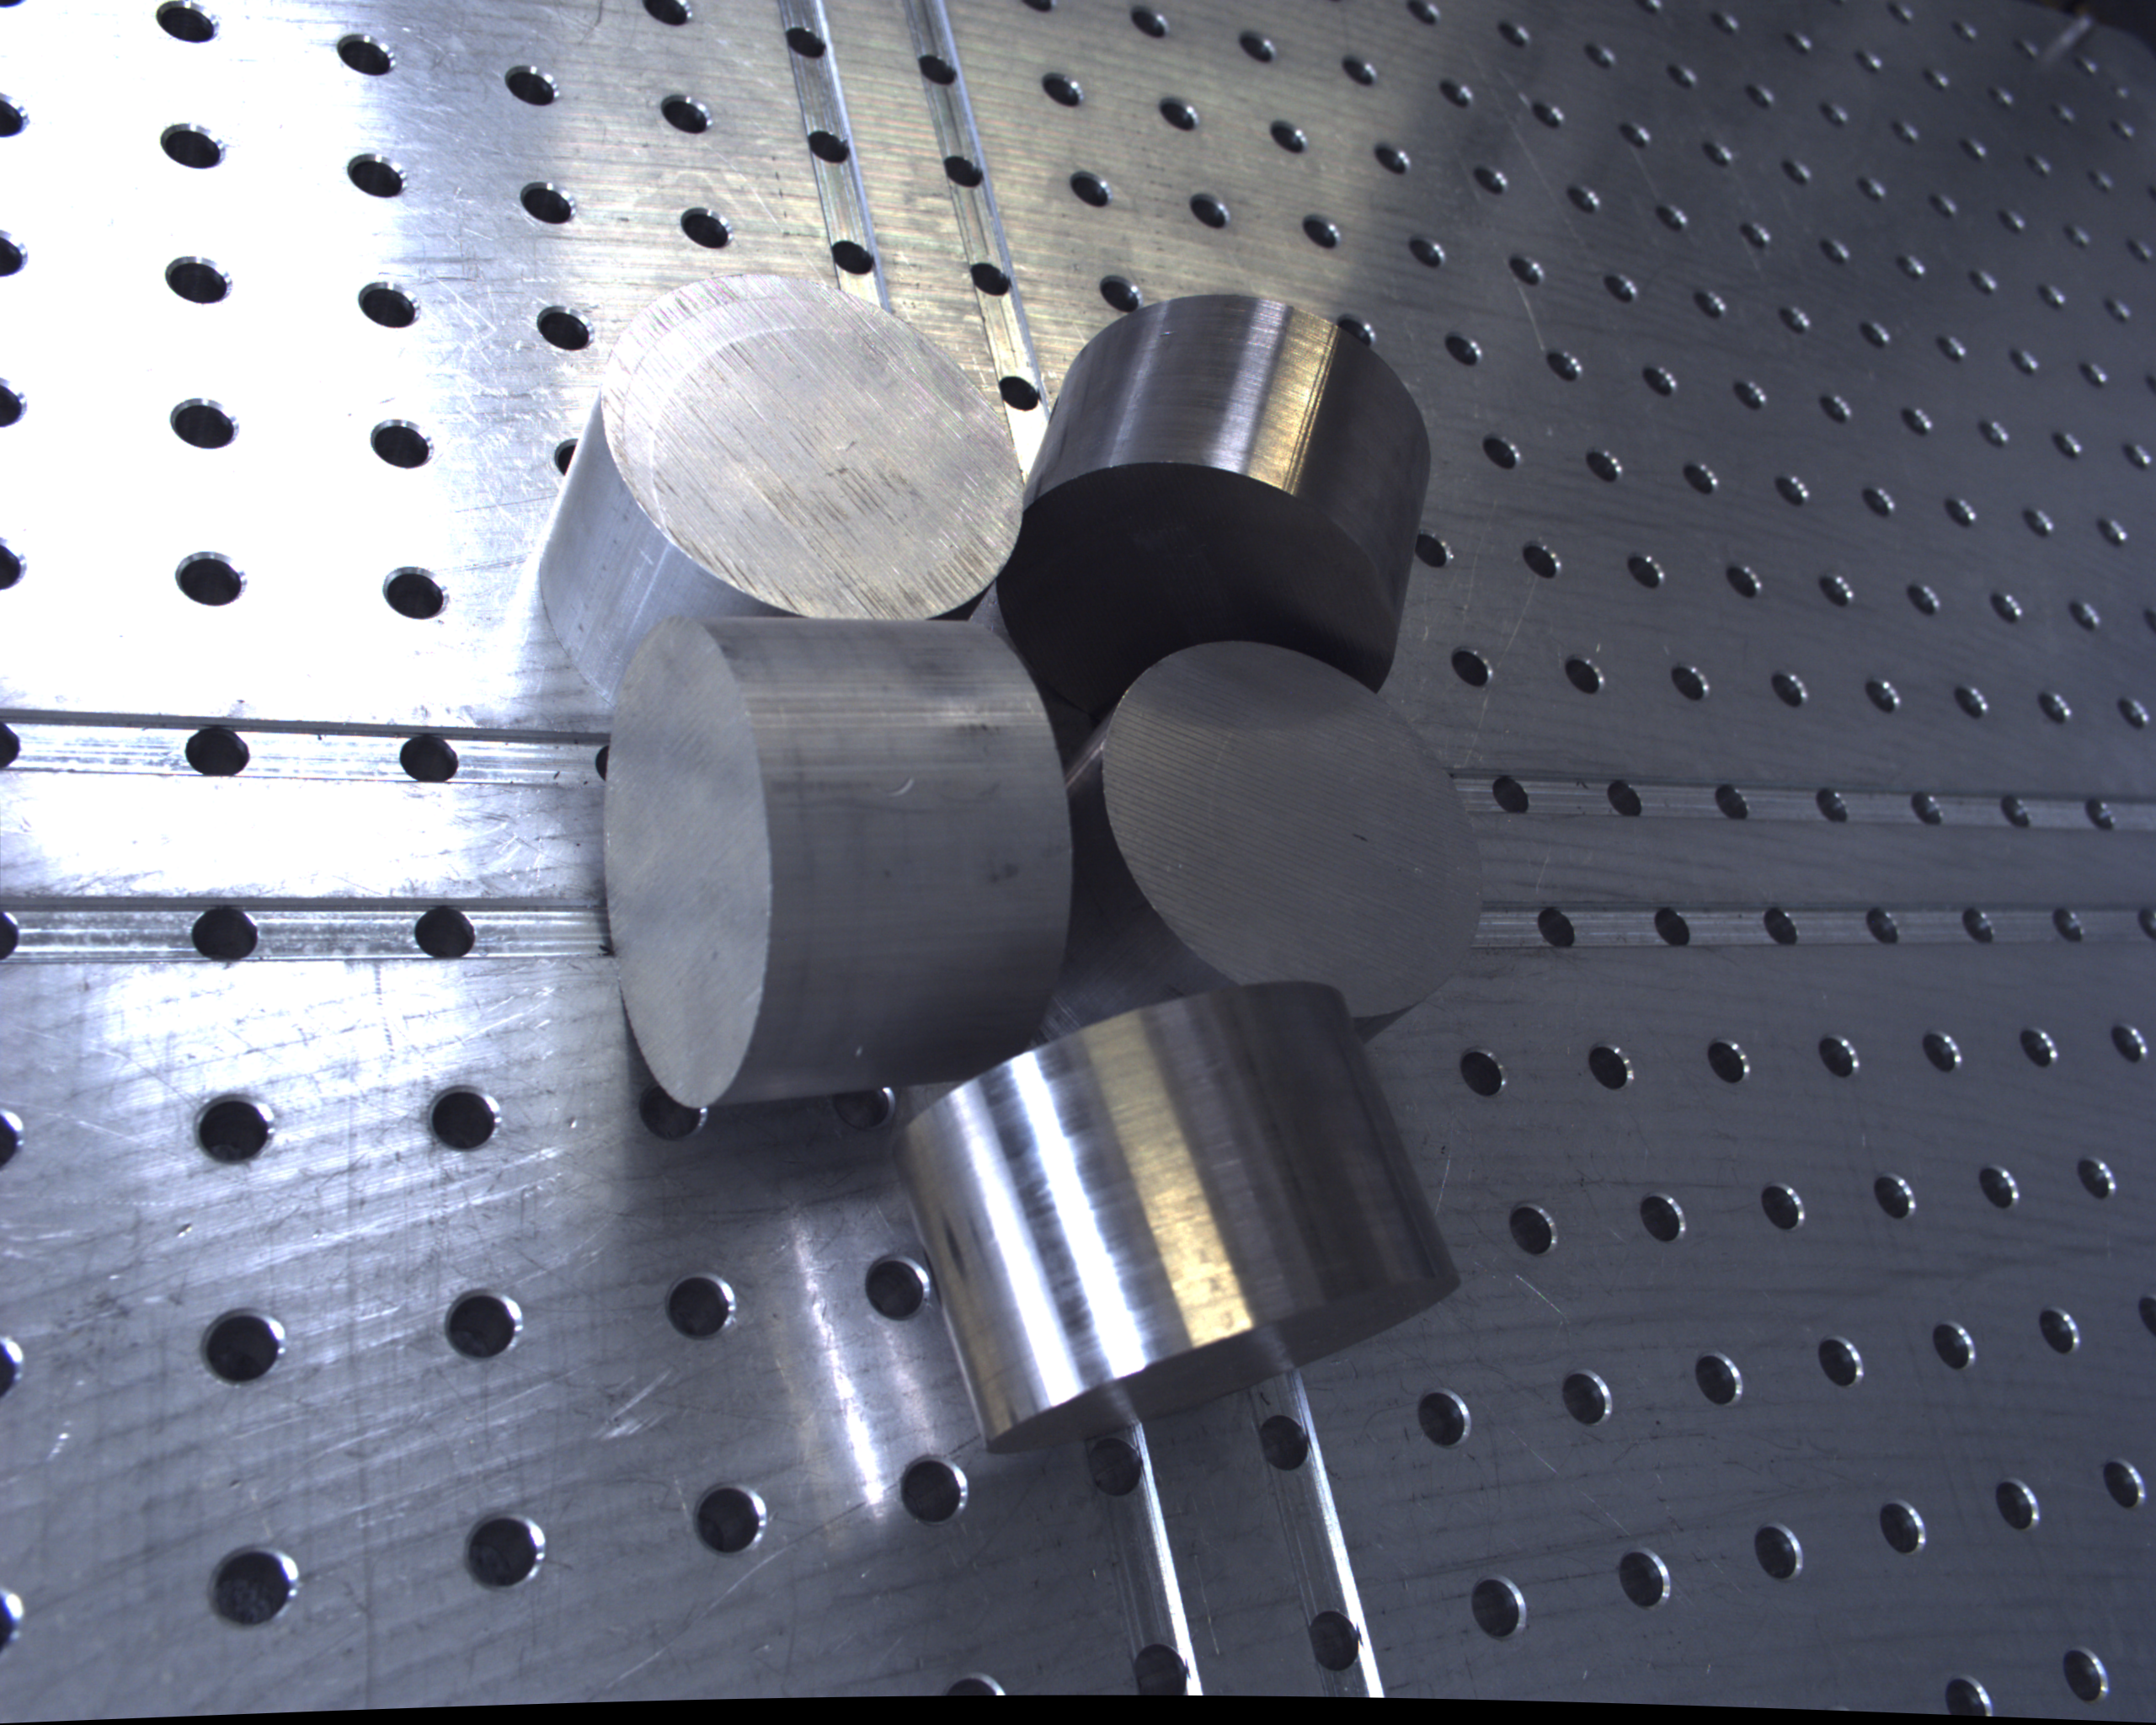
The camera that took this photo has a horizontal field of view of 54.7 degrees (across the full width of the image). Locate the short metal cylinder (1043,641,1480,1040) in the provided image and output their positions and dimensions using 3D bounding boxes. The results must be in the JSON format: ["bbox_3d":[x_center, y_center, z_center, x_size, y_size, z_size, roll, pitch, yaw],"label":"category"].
[{"bbox_3d":[0.030,0.004,0.405,0.081,0.050,0.080,14,56,-21],"label":"short metal cylinder"}]

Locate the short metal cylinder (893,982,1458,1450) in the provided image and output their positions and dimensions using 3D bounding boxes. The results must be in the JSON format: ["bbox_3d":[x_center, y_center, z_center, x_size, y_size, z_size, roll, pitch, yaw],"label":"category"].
[{"bbox_3d":[0.015,0.059,0.344,0.081,0.080,0.050,-7,66,-31],"label":"short metal cylinder"}]

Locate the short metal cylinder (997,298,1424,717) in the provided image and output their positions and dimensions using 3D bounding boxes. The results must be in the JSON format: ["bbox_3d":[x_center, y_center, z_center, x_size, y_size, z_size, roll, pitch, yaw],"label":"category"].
[{"bbox_3d":[0.028,-0.068,0.429,0.080,0.080,0.050,25,52,-13],"label":"short metal cylinder"}]

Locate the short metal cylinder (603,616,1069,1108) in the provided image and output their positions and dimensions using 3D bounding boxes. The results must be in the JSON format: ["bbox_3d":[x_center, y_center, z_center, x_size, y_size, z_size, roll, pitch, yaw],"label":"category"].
[{"bbox_3d":[-0.043,-0.001,0.351,0.050,0.080,0.080,-2,63,-30],"label":"short metal cylinder"}]

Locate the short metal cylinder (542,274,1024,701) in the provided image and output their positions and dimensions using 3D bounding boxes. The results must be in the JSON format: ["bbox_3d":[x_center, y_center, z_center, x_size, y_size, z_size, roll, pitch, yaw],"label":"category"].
[{"bbox_3d":[-0.057,-0.065,0.400,0.081,0.050,0.080,13,57,-20],"label":"short metal cylinder"}]
